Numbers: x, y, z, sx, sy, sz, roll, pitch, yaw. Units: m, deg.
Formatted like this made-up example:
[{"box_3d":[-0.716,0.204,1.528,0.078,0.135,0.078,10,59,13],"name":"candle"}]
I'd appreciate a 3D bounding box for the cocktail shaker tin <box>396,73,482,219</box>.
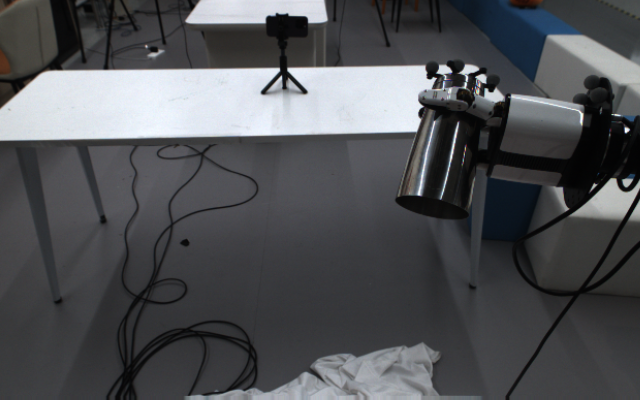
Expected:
[{"box_3d":[0.163,-0.073,0.616,0.093,0.093,0.170,13,77,15],"name":"cocktail shaker tin"}]
